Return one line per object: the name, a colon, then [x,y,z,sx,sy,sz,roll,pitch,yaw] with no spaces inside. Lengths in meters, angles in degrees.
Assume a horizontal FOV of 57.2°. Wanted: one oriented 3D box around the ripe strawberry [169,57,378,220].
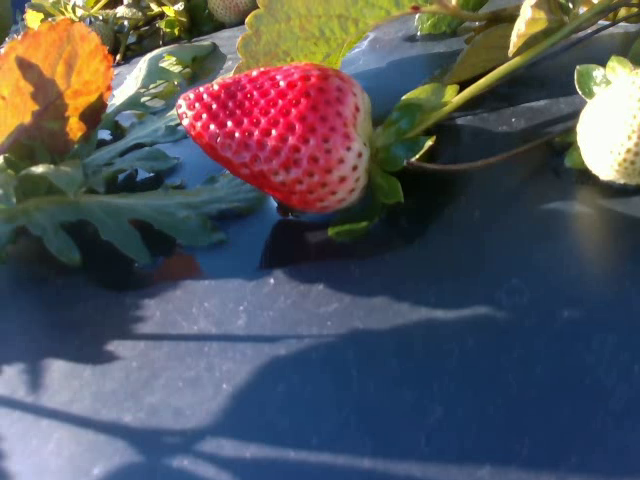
ripe strawberry: [-0.010,-0.026,0.136,0.053,0.044,0.036,8,-16,-3]
